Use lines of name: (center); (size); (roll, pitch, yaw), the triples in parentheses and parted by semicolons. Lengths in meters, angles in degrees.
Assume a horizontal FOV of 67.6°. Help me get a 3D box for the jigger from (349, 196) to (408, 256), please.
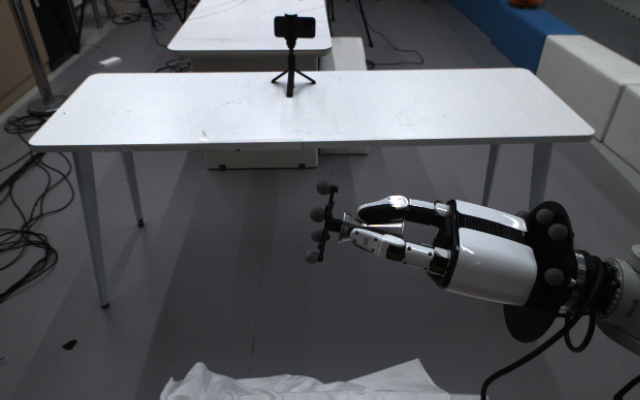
jigger: (0.065, 0.034, 0.551); (0.071, 0.043, 0.043); (11, 35, 3)
